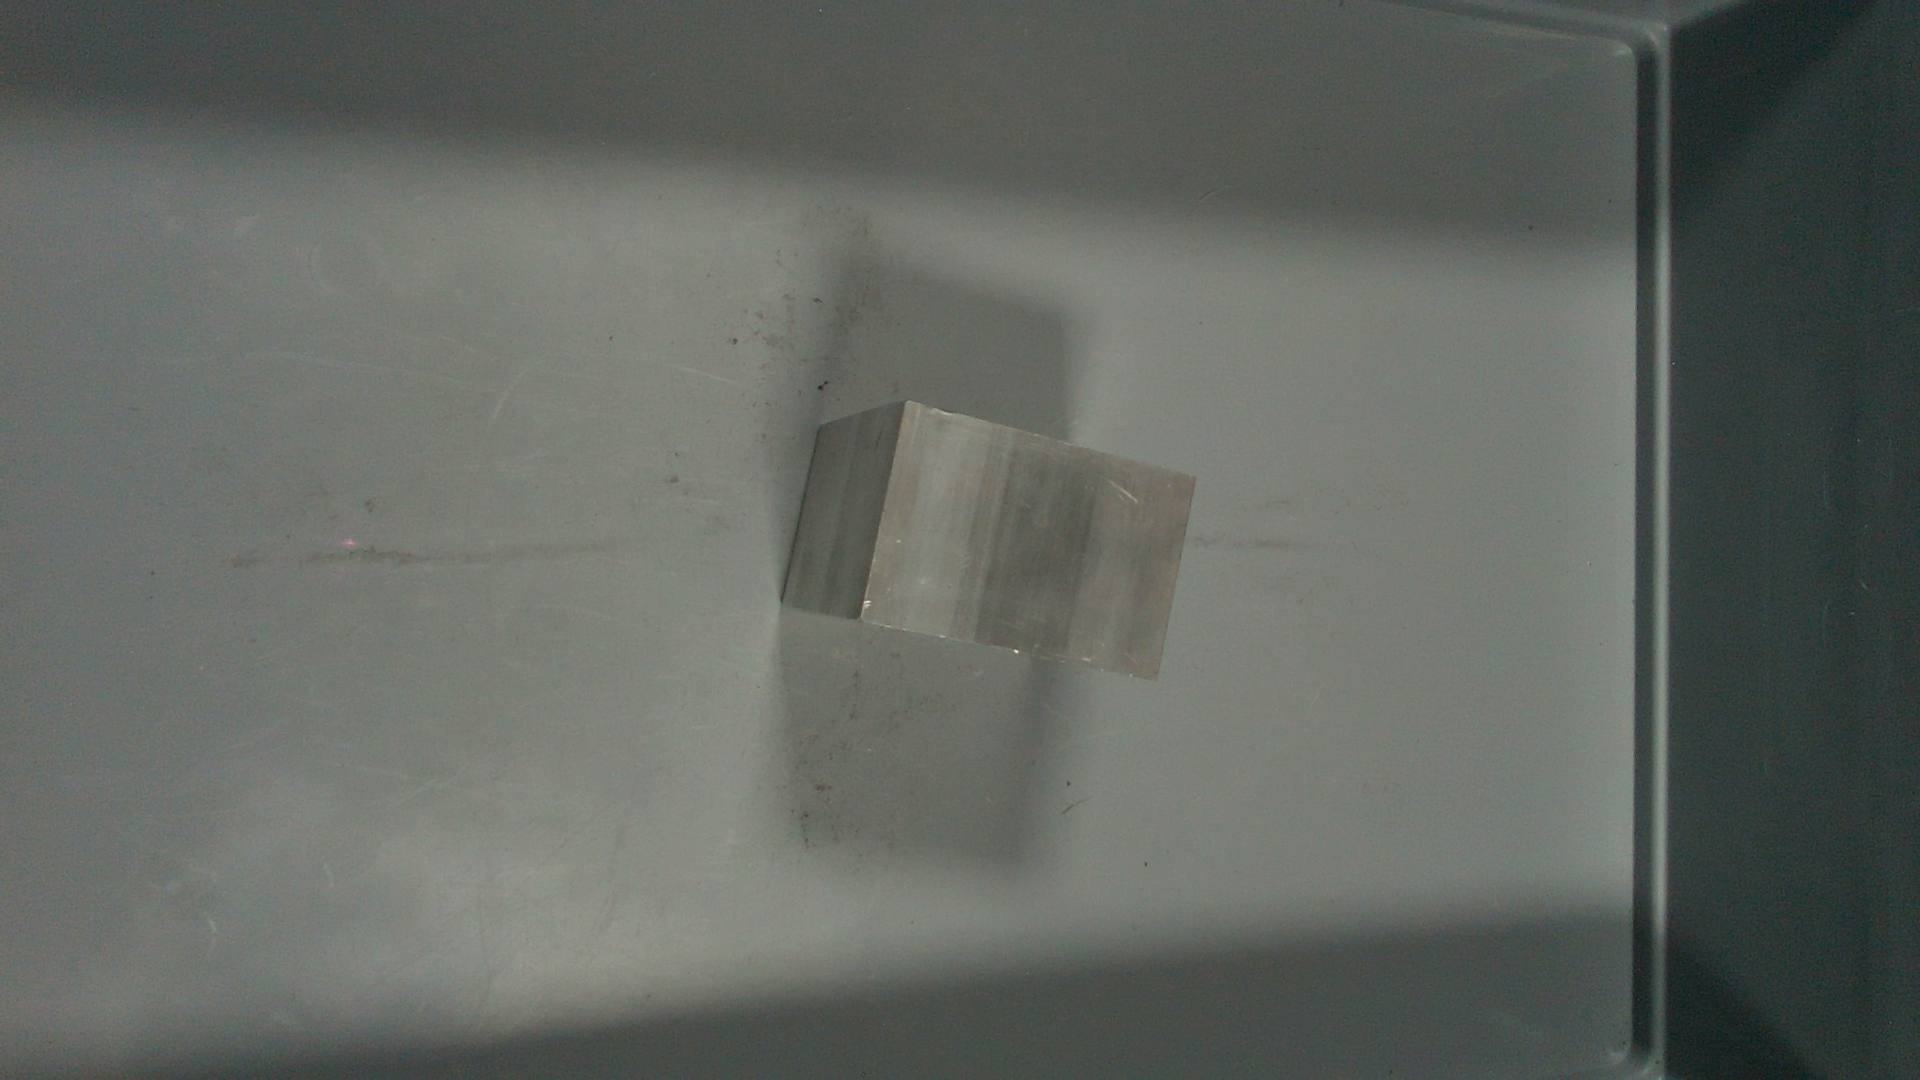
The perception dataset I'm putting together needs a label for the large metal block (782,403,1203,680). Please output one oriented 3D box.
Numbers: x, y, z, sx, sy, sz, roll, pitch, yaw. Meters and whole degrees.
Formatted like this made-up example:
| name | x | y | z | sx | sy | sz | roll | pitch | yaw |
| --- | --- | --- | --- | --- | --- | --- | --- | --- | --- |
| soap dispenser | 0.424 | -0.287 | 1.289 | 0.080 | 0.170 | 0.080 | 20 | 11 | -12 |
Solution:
| name | x | y | z | sx | sy | sz | roll | pitch | yaw |
| --- | --- | --- | --- | --- | --- | --- | --- | --- | --- |
| large metal block | 0.005 | 0.002 | 0.364 | 0.080 | 0.080 | 0.050 | 13 | 86 | -19 |
